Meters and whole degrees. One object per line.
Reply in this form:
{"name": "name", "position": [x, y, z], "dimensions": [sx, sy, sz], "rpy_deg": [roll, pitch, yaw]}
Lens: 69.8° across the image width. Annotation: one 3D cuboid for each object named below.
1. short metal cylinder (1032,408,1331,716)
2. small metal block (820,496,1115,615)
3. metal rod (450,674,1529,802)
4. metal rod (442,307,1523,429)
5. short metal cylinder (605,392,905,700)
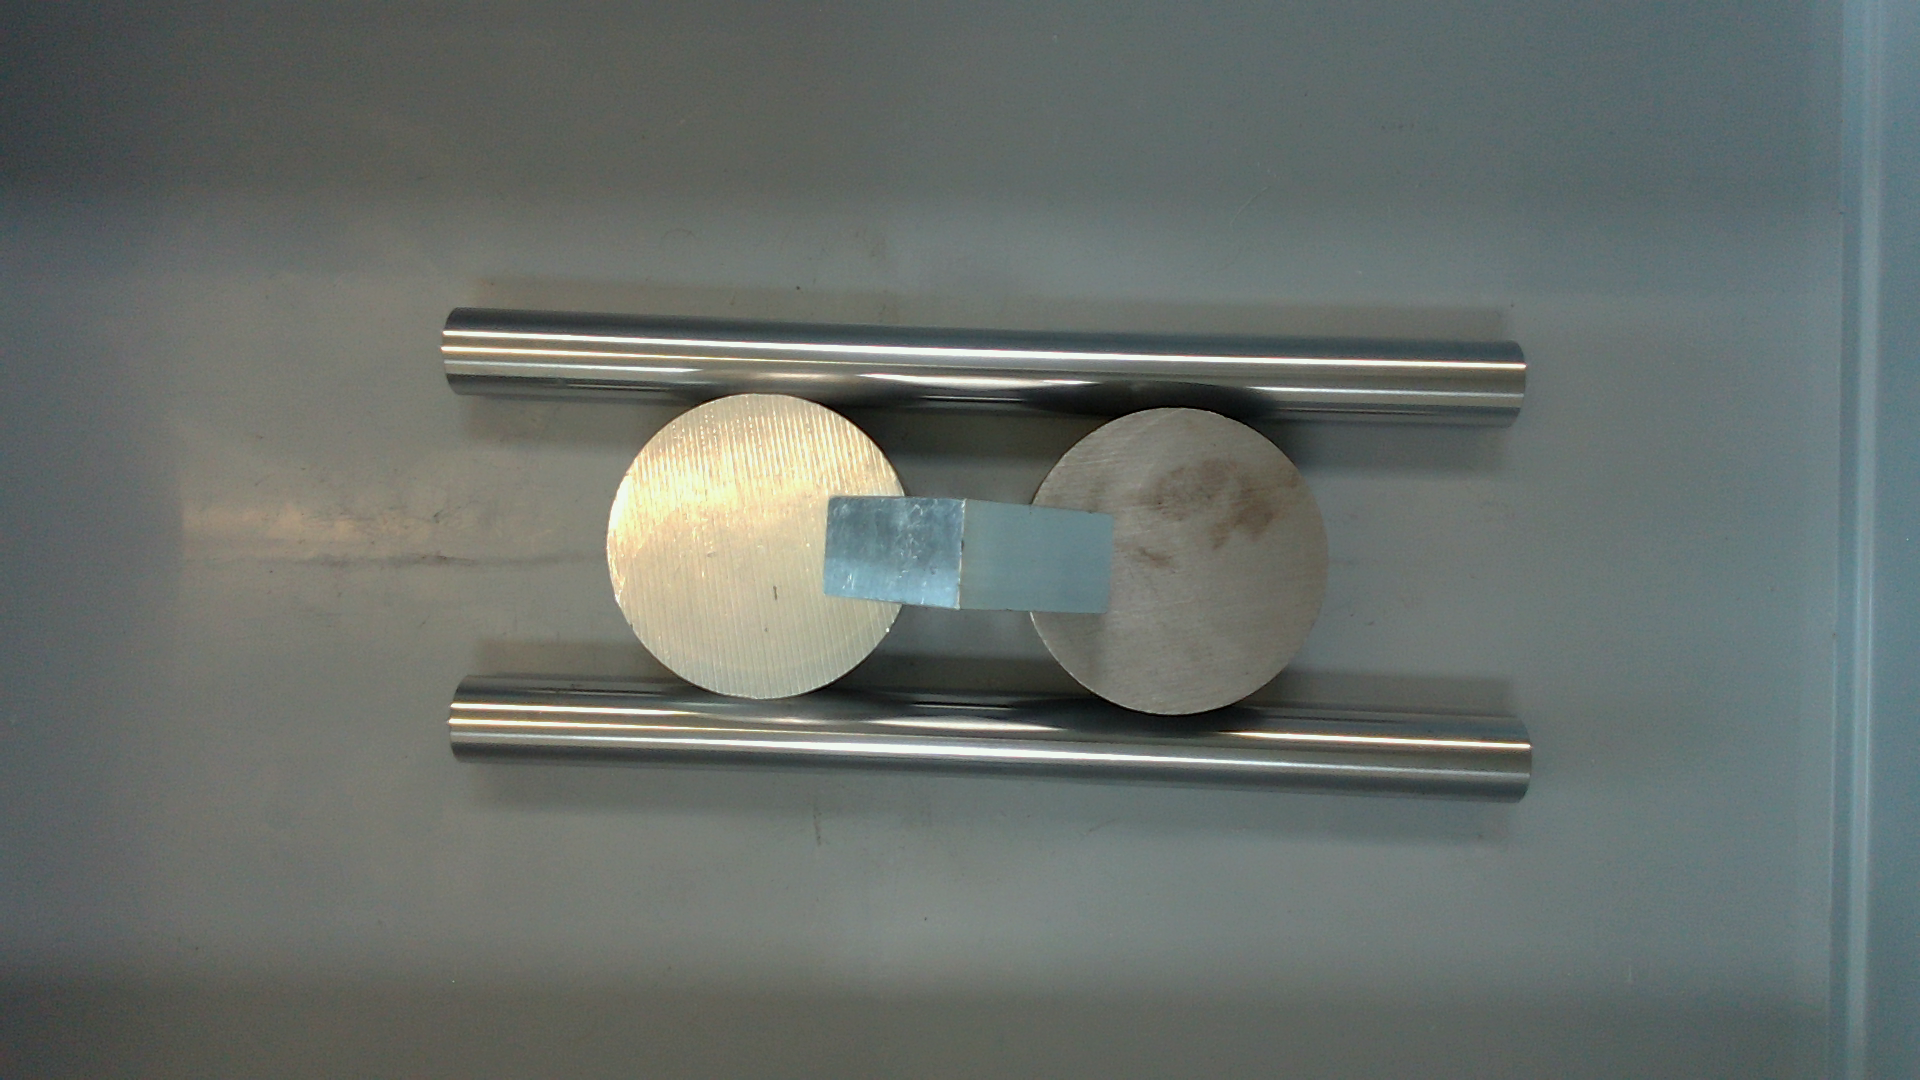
{"name": "short metal cylinder", "position": [0.057, 0.006, 0.382], "dimensions": [0.080, 0.050, 0.080], "rpy_deg": [0, 90, 0]}
{"name": "small metal block", "position": [0.002, 0.004, 0.336], "dimensions": [0.050, 0.050, 0.025], "rpy_deg": [4, 89, -43]}
{"name": "metal rod", "position": [0.008, 0.057, 0.395], "dimensions": [0.300, 0.025, 0.025], "rpy_deg": [2, 90, 0]}
{"name": "metal rod", "position": [0.007, -0.049, 0.394], "dimensions": [0.300, 0.025, 0.025], "rpy_deg": [2, 90, 0]}
{"name": "short metal cylinder", "position": [-0.052, 0.001, 0.382], "dimensions": [0.080, 0.050, 0.080], "rpy_deg": [0, 90, 0]}
